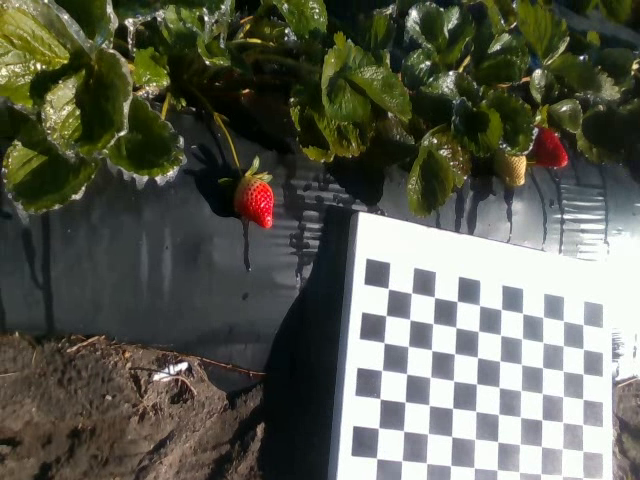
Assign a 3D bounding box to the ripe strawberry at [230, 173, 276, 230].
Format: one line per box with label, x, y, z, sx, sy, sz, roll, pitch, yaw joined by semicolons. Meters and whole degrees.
ripe strawberry;-0.052;-0.030;0.498;0.039;0.053;0.041;-13;-22;-21
